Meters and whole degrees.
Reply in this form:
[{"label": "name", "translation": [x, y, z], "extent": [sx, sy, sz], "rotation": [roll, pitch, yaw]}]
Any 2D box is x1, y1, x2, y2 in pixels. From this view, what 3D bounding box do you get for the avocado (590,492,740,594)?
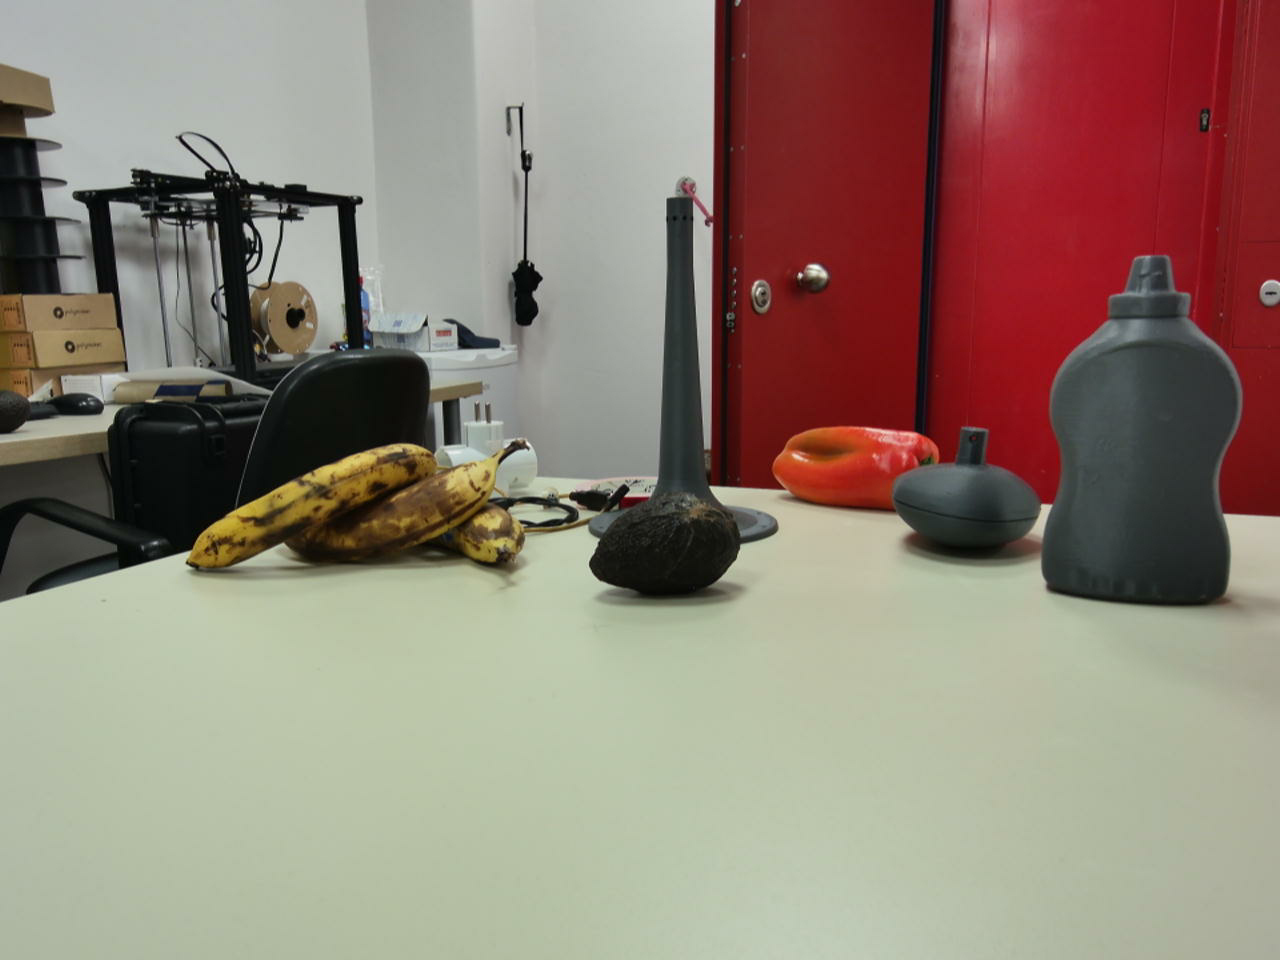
[{"label": "avocado", "translation": [0.016, 0.038, 0.614], "extent": [0.092, 0.062, 0.062], "rotation": [0, 7, -1]}]
